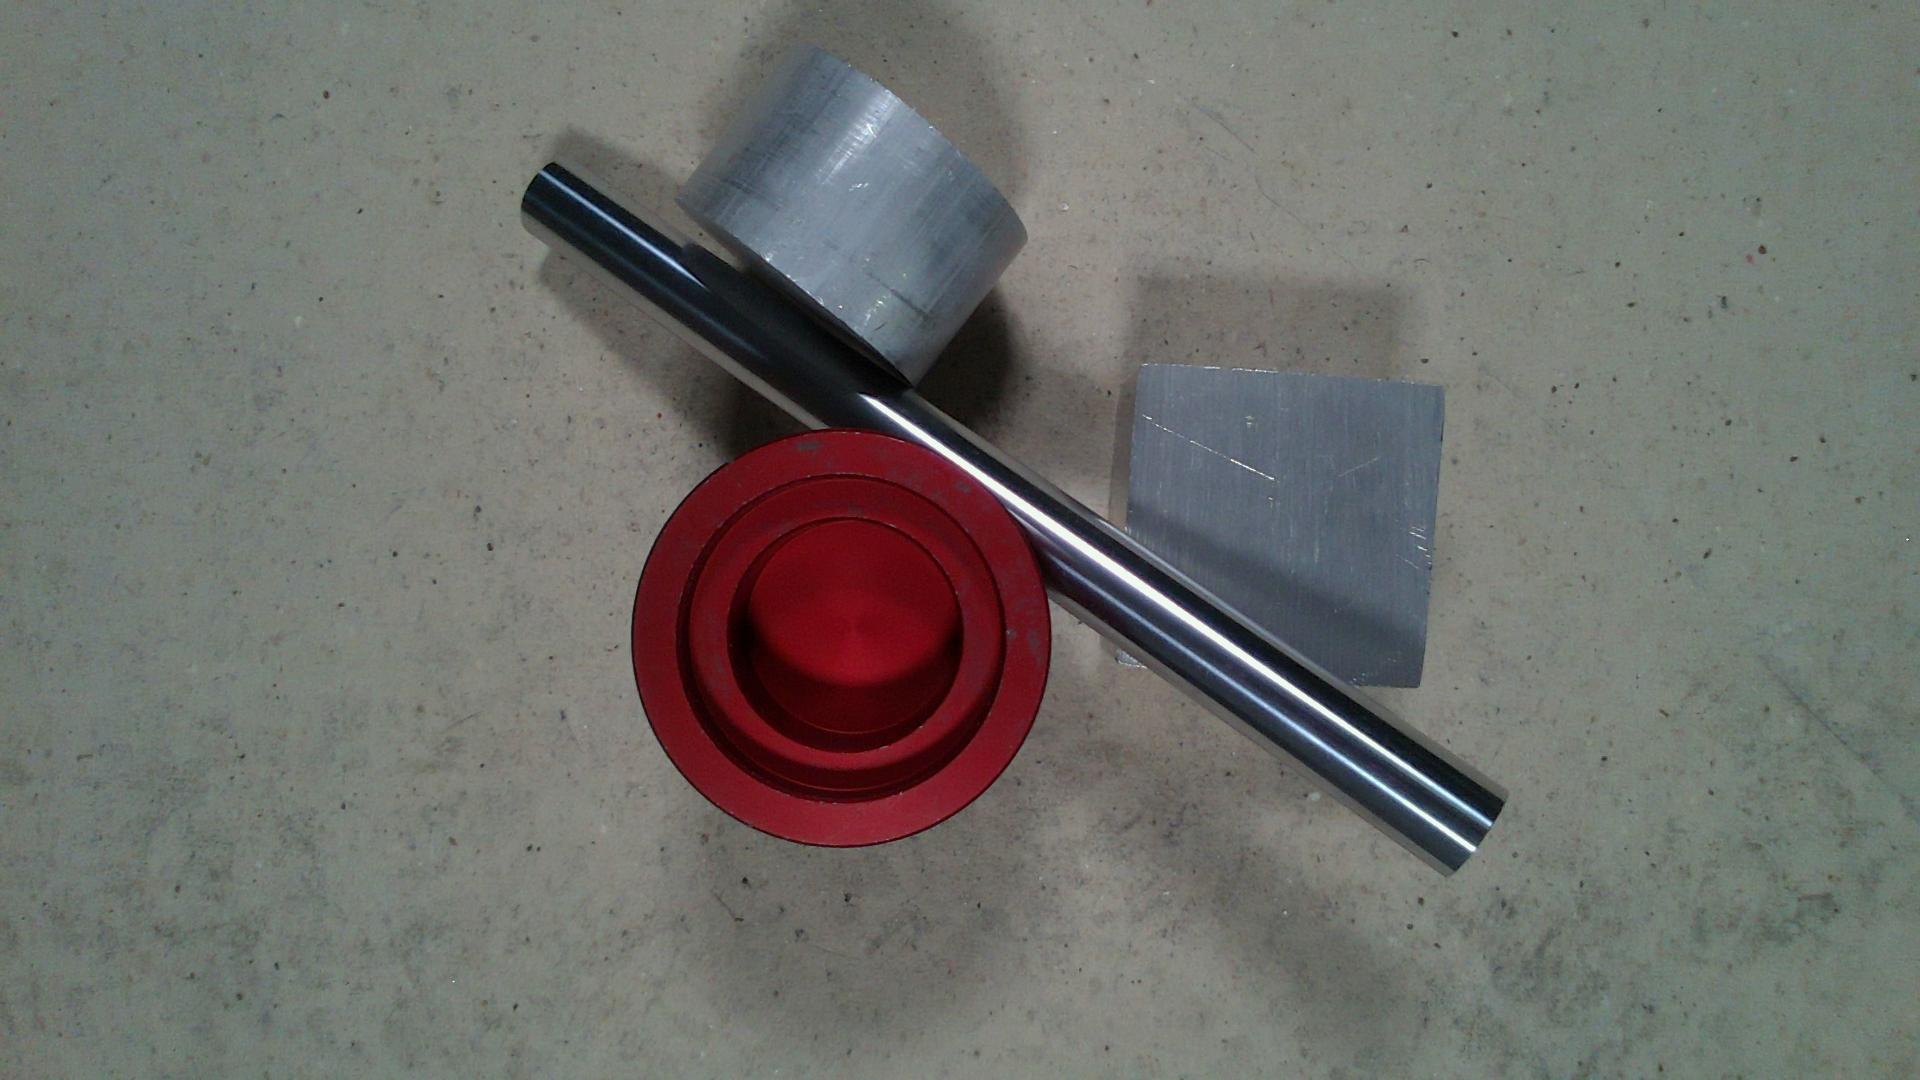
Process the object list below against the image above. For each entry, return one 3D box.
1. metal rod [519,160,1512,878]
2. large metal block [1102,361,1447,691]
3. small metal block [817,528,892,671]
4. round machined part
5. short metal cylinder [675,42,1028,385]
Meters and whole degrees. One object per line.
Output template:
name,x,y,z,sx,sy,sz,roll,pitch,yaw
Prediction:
metal rod,0.003,-0.014,0.358,0.300,0.025,0.025,35,90,14
large metal block,0.084,-0.004,0.383,0.080,0.050,0.080,4,90,0
small metal block,-0.031,0.011,0.383,0.025,0.050,0.050,-2,90,0
round machined part,-0.027,0.023,0.338,0.098,0.042,0.098,0,92,0
short metal cylinder,-0.029,-0.085,0.367,0.080,0.080,0.050,37,90,0
